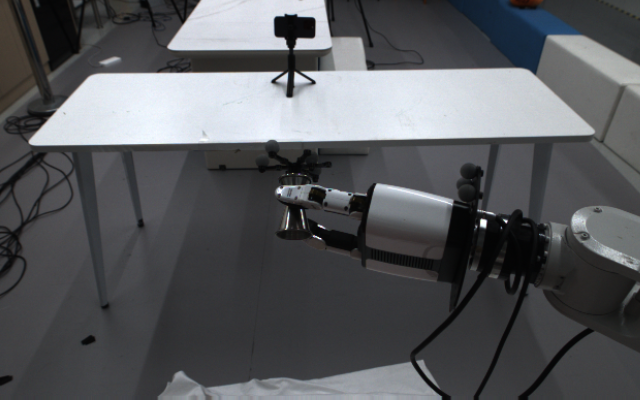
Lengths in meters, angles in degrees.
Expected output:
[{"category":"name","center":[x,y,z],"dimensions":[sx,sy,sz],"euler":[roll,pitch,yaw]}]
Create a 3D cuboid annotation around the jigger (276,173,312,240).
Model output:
[{"category":"jigger","center":[-0.029,0.006,0.559],"dimensions":[0.043,0.043,0.071],"euler":[0,70,-2]}]
